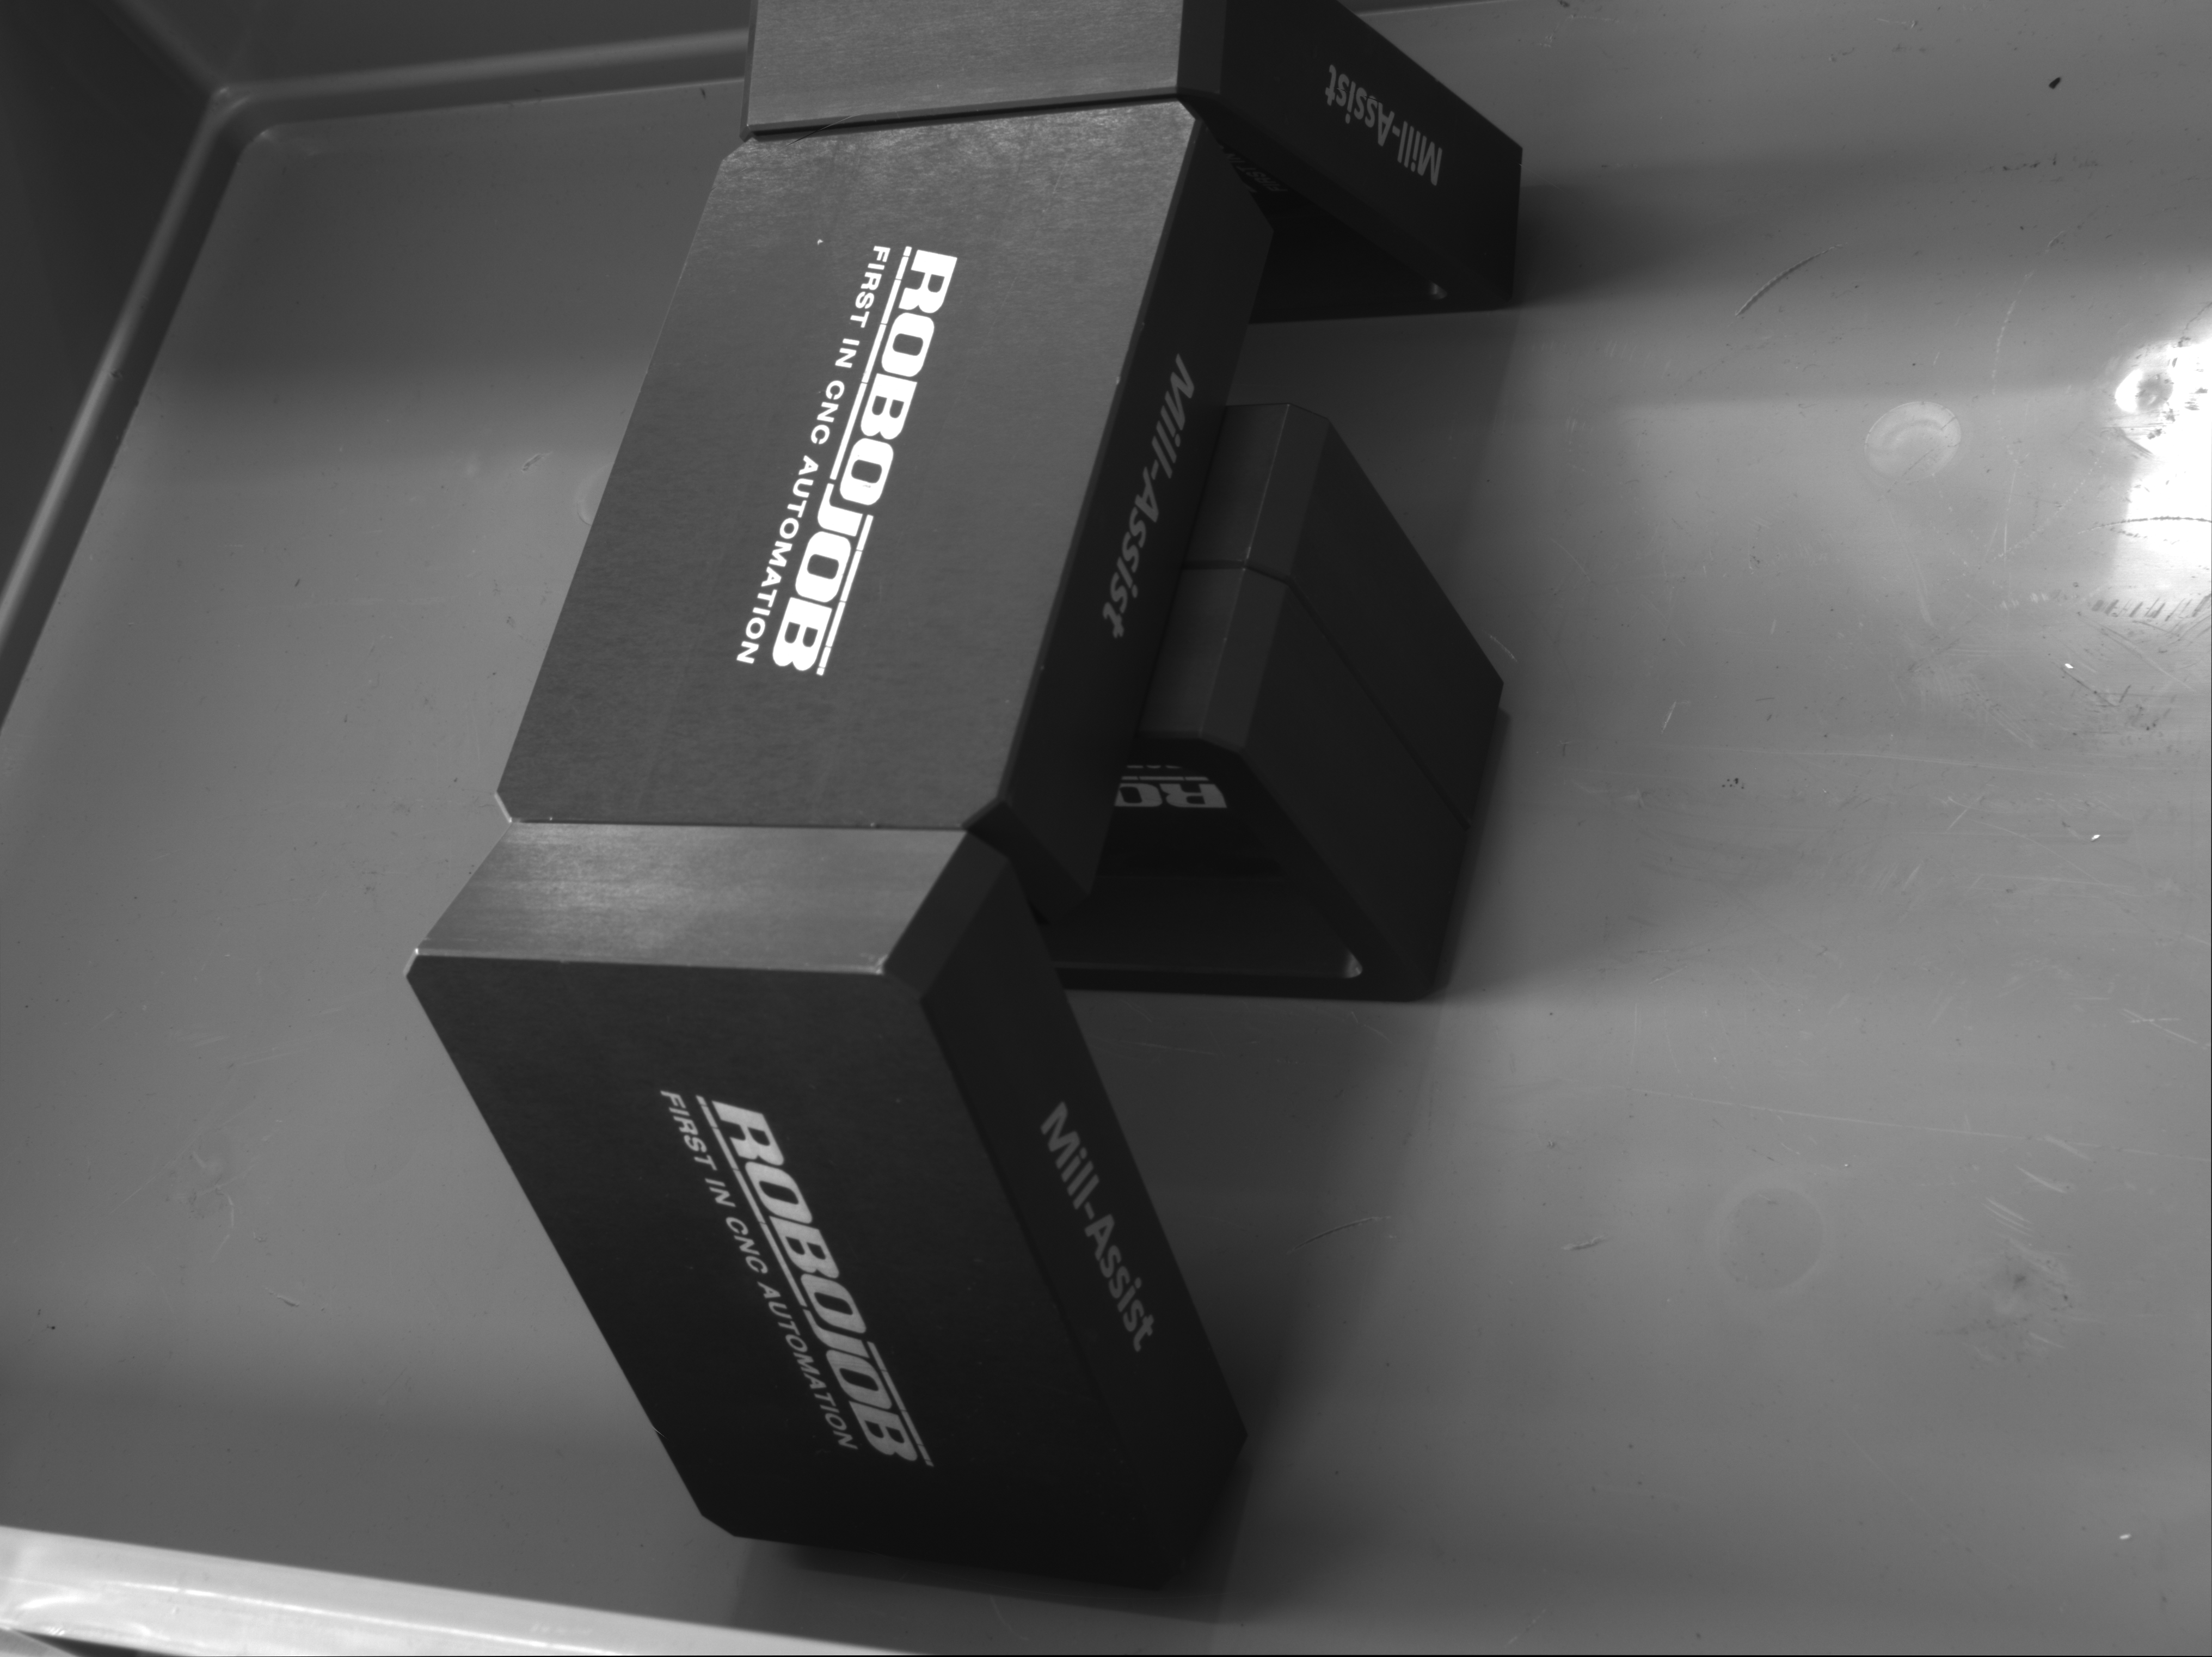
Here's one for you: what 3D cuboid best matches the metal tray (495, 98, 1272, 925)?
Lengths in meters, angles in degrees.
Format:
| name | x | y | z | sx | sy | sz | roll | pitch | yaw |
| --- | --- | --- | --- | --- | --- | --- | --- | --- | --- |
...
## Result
| name | x | y | z | sx | sy | sz | roll | pitch | yaw |
| --- | --- | --- | --- | --- | --- | --- | --- | --- | --- |
| metal tray | -0.033 | -0.050 | 0.572 | 0.090 | 0.030 | 0.130 | 1 | 62 | 28 |

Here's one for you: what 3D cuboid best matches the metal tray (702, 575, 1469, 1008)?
| name | x | y | z | sx | sy | sz | roll | pitch | yaw |
| --- | --- | --- | --- | --- | --- | --- | --- | --- | --- |
| metal tray | -0.016 | -0.005 | 0.614 | 0.130 | 0.090 | 0.030 | 1 | 62 | 29 |

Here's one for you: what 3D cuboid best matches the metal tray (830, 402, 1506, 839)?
| name | x | y | z | sx | sy | sz | roll | pitch | yaw |
| --- | --- | --- | --- | --- | --- | --- | --- | --- | --- |
| metal tray | -0.008 | -0.033 | 0.626 | 0.130 | 0.090 | 0.030 | 1 | 62 | 29 |

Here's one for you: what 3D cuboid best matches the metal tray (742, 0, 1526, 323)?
| name | x | y | z | sx | sy | sz | roll | pitch | yaw |
| --- | --- | --- | --- | --- | --- | --- | --- | --- | --- |
| metal tray | 0.008 | -0.121 | 0.645 | 0.090 | 0.130 | 0.030 | 1 | 82 | 29 |

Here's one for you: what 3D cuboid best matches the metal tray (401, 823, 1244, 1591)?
| name | x | y | z | sx | sy | sz | roll | pitch | yaw |
| --- | --- | --- | --- | --- | --- | --- | --- | --- | --- |
| metal tray | -0.041 | 0.059 | 0.559 | 0.090 | 0.130 | 0.030 | 1 | 40 | 28 |
